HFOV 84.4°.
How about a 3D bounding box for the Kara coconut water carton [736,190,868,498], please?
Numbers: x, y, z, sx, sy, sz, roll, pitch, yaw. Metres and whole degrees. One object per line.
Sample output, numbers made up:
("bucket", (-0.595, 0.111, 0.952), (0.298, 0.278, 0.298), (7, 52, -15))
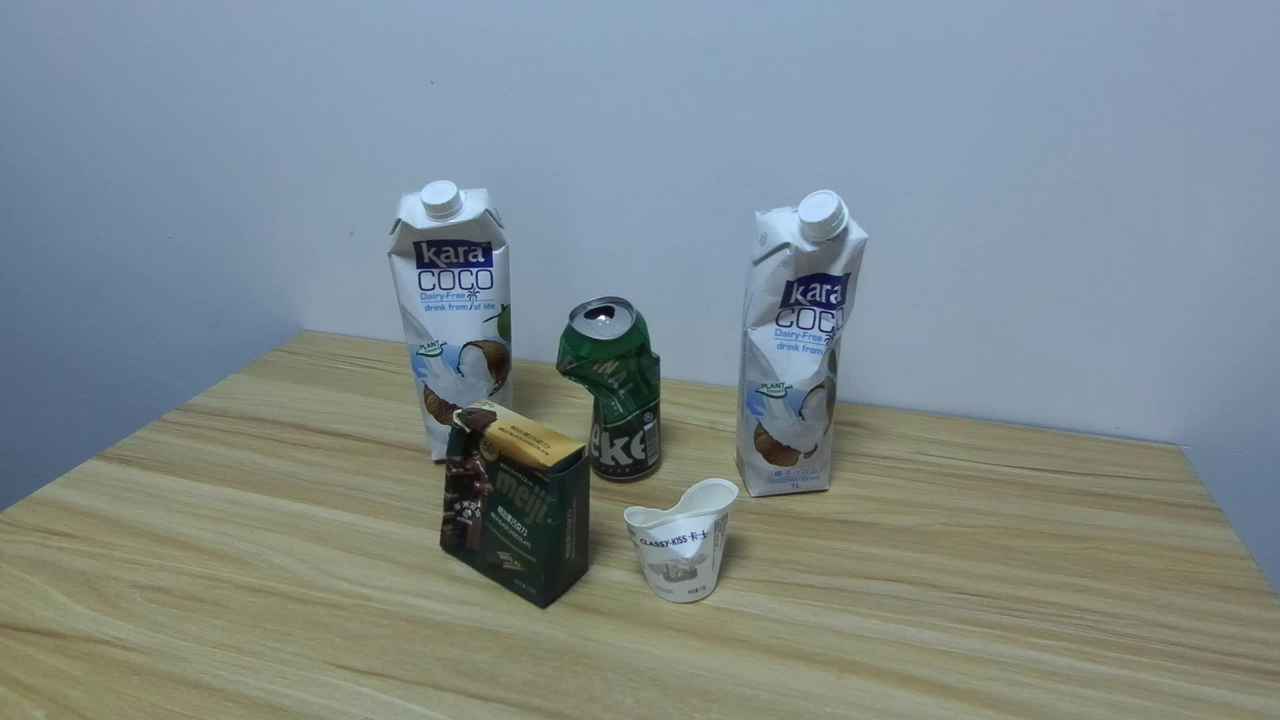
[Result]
("Kara coconut water carton", (0.120, -0.011, 0.555), (0.083, 0.256, 0.078), (3, 29, 5))

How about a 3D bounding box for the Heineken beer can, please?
("Heineken beer can", (-0.019, 0.026, 0.596), (0.067, 0.159, 0.079), (4, 33, 18))

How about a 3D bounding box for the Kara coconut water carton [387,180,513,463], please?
("Kara coconut water carton", (-0.156, -0.033, 0.614), (0.100, 0.244, 0.071), (-7, 26, -9))

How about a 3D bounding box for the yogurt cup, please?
("yogurt cup", (0.029, 0.125, 0.493), (0.053, 0.071, 0.076), (19, 34, 32))

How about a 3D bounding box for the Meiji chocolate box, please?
("Meiji chocolate box", (-0.092, 0.101, 0.511), (0.112, 0.110, 0.058), (17, 23, 33))
